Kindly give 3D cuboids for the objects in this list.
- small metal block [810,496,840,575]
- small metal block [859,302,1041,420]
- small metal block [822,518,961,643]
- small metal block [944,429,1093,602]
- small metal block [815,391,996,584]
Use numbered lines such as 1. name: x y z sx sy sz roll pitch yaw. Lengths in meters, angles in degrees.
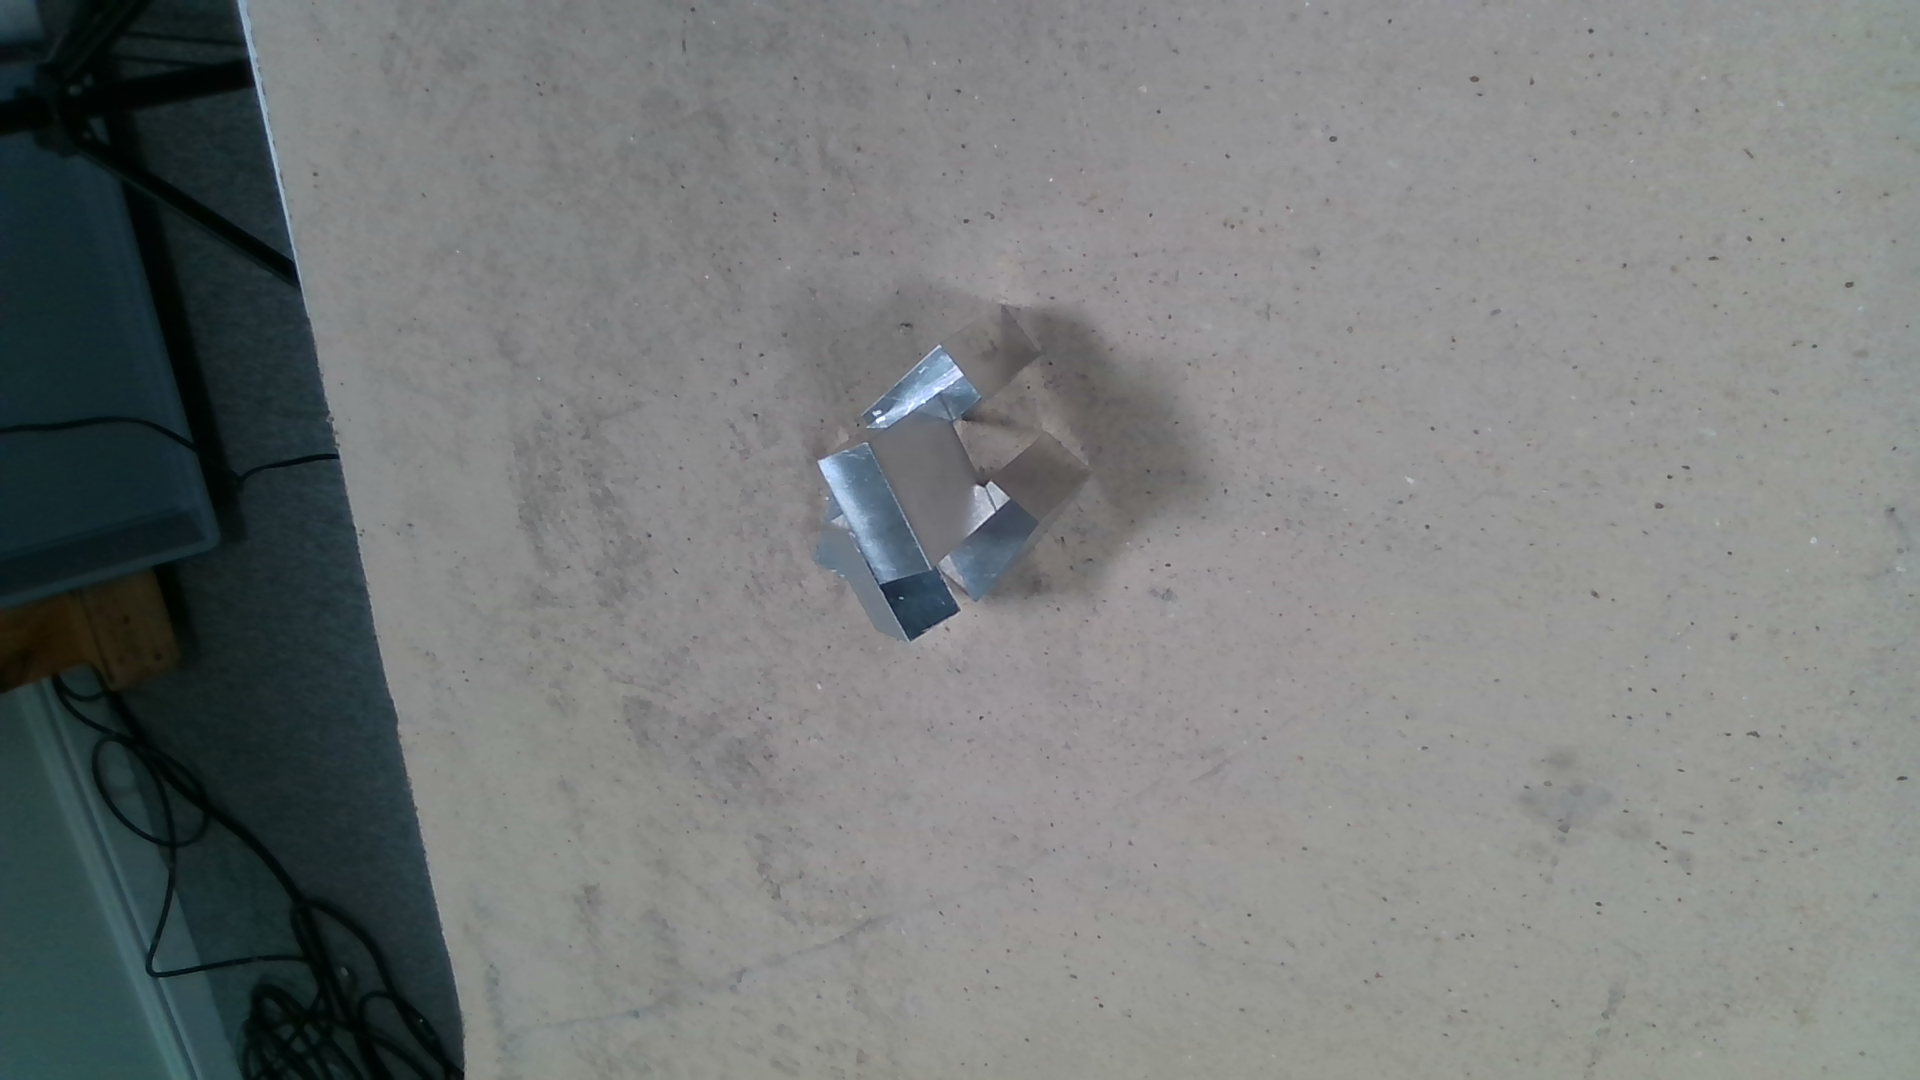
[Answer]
1. small metal block: -0.033 -0.005 0.598 0.050 0.025 0.050 28 127 16
2. small metal block: -0.003 -0.061 0.533 0.025 0.050 0.050 51 129 -2
3. small metal block: -0.029 0.011 0.556 0.050 0.025 0.050 62 165 -11
4. small metal block: 0.020 -0.010 0.547 0.025 0.050 0.050 41 129 6
5. small metal block: -0.019 -0.019 0.500 0.025 0.050 0.050 -17 105 37
